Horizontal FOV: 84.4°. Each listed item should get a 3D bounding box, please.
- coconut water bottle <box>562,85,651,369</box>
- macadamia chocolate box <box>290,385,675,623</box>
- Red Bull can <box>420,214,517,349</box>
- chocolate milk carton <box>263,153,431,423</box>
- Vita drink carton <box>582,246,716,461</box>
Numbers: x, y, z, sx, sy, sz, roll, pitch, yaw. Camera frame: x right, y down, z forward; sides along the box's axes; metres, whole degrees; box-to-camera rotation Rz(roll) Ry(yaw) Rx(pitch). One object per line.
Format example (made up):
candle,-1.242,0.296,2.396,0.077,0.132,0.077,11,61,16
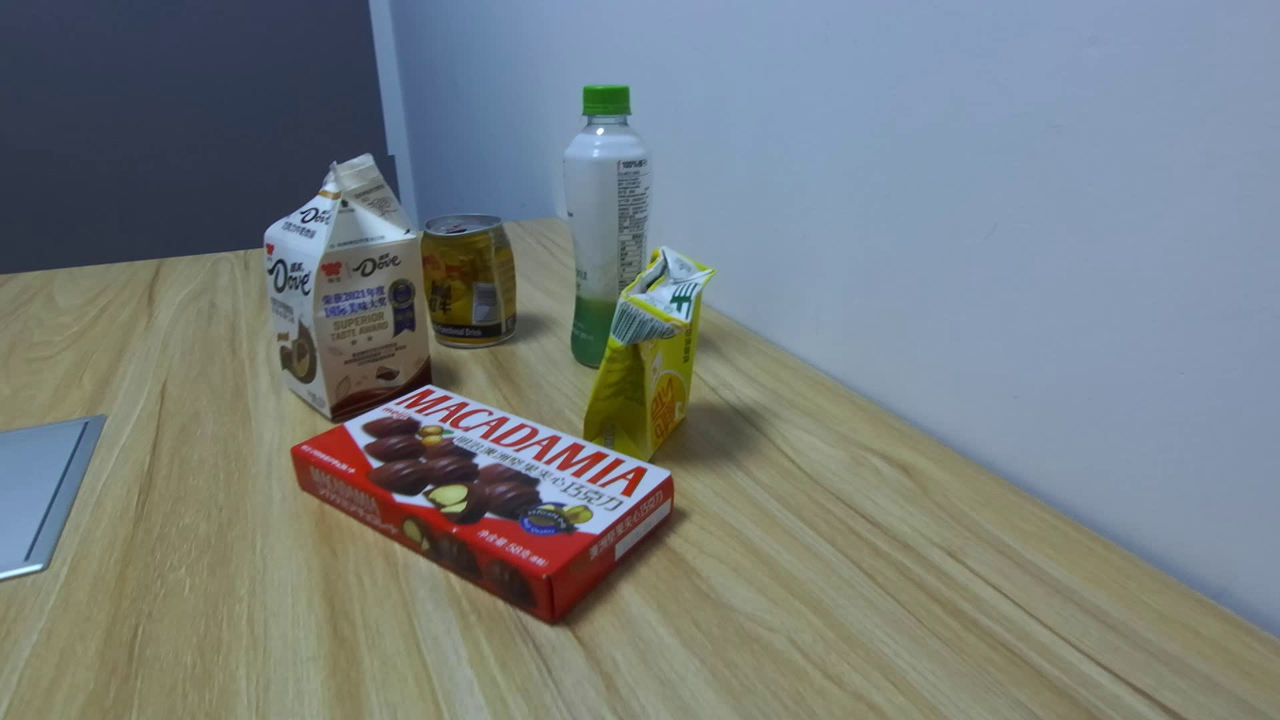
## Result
coconut water bottle,-0.020,-0.088,0.491,0.063,0.188,0.063,-1,19,1
macadamia chocolate box,-0.082,0.062,0.359,0.177,0.027,0.096,16,28,31
Red Bull can,-0.134,-0.063,0.556,0.072,0.092,0.072,1,25,0
chocolate milk carton,-0.187,-0.051,0.448,0.076,0.155,0.074,21,30,39
Vita drink carton,0.008,-0.001,0.397,0.042,0.108,0.087,23,33,16
